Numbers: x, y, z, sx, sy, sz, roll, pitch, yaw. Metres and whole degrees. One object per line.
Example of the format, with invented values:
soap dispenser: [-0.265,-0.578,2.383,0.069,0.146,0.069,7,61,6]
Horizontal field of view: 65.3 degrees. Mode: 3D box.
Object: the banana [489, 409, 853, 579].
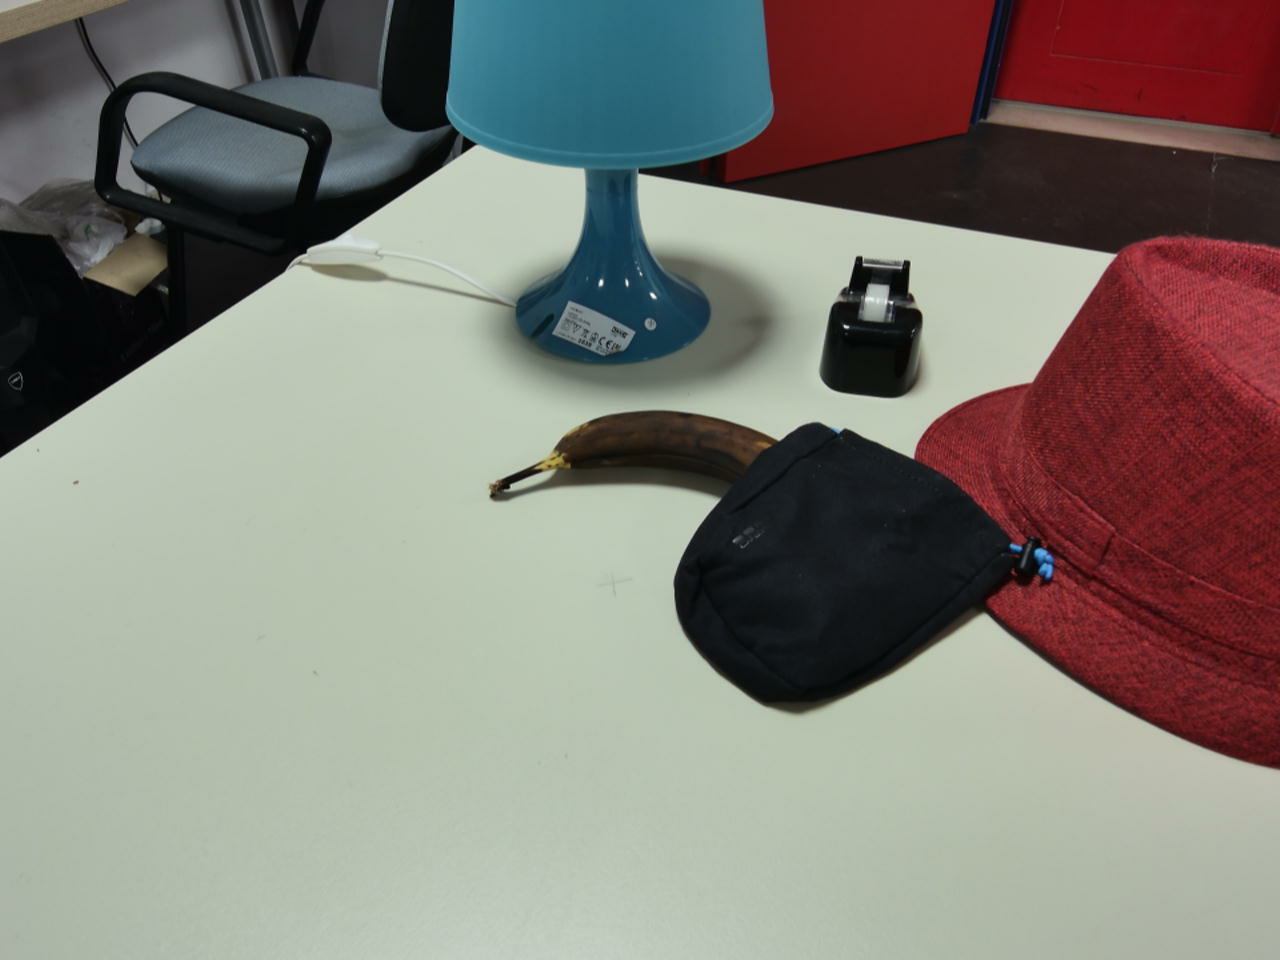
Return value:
banana: [0.023,-0.004,0.517,0.188,0.034,0.091,16,42,21]
